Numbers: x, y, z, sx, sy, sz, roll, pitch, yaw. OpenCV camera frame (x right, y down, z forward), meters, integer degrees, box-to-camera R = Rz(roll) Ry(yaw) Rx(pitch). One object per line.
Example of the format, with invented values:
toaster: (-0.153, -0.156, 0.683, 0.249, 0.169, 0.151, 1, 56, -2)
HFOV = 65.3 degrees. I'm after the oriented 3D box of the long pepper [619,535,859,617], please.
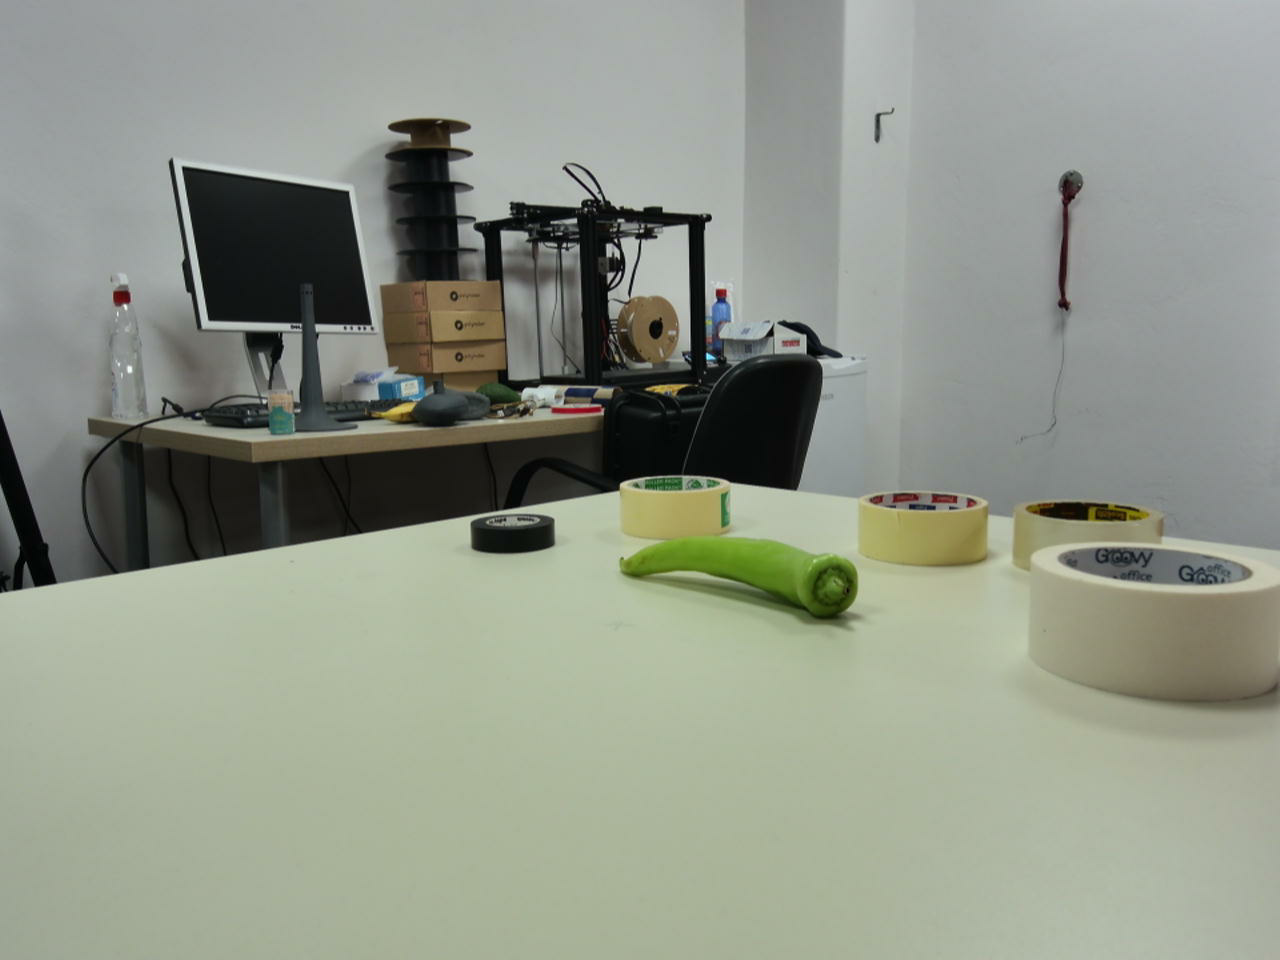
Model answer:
long pepper: (0.060, 0.053, 0.630, 0.046, 0.038, 0.197, -5, 8, -41)
